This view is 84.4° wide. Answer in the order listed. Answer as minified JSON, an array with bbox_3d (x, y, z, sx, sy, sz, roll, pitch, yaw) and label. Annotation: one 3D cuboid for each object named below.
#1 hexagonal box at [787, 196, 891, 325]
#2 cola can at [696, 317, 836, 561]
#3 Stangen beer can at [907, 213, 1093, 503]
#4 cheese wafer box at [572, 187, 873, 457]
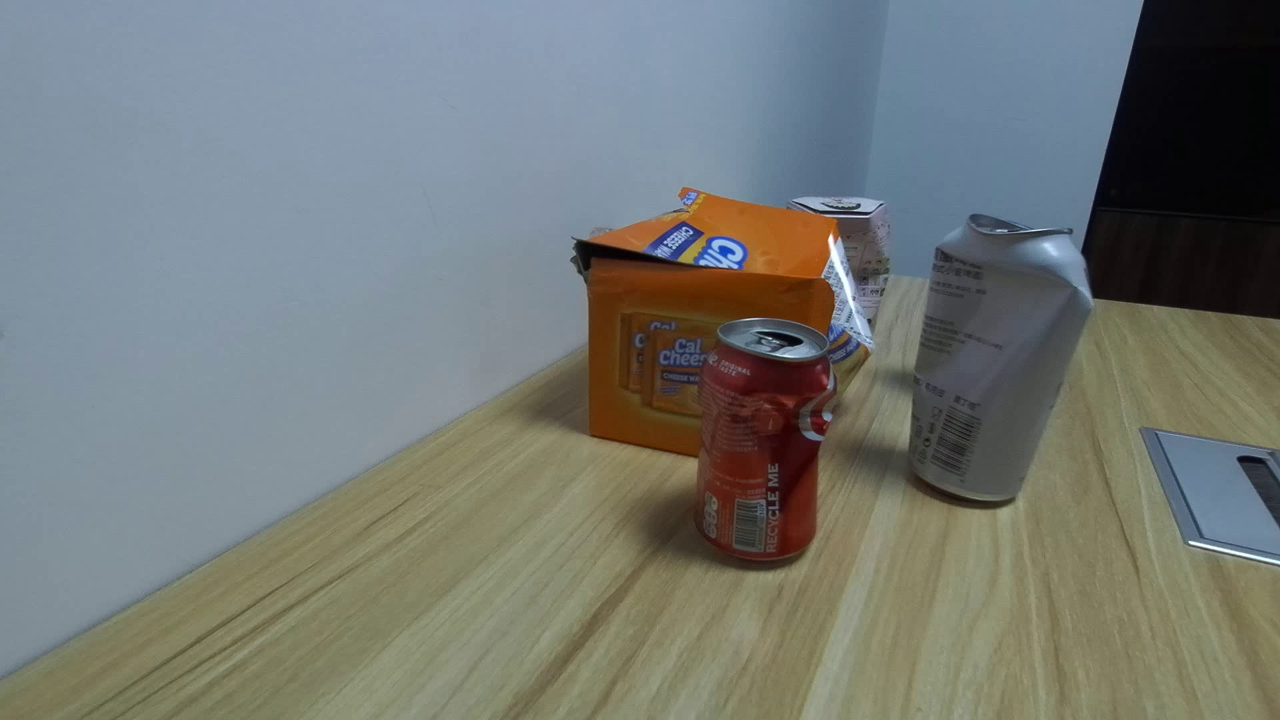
[{"bbox_3d":[0.181,-0.081,0.666,0.090,0.134,0.090,20,32,38],"label":"hexagonal box"},{"bbox_3d":[0.062,0.039,0.358,0.066,0.117,0.066,-6,22,-18],"label":"cola can"},{"bbox_3d":[0.204,0.002,0.411,0.077,0.162,0.066,7,22,14],"label":"Stangen beer can"},{"bbox_3d":[0.079,-0.037,0.529,0.191,0.145,0.219,8,22,19],"label":"cheese wafer box"}]
